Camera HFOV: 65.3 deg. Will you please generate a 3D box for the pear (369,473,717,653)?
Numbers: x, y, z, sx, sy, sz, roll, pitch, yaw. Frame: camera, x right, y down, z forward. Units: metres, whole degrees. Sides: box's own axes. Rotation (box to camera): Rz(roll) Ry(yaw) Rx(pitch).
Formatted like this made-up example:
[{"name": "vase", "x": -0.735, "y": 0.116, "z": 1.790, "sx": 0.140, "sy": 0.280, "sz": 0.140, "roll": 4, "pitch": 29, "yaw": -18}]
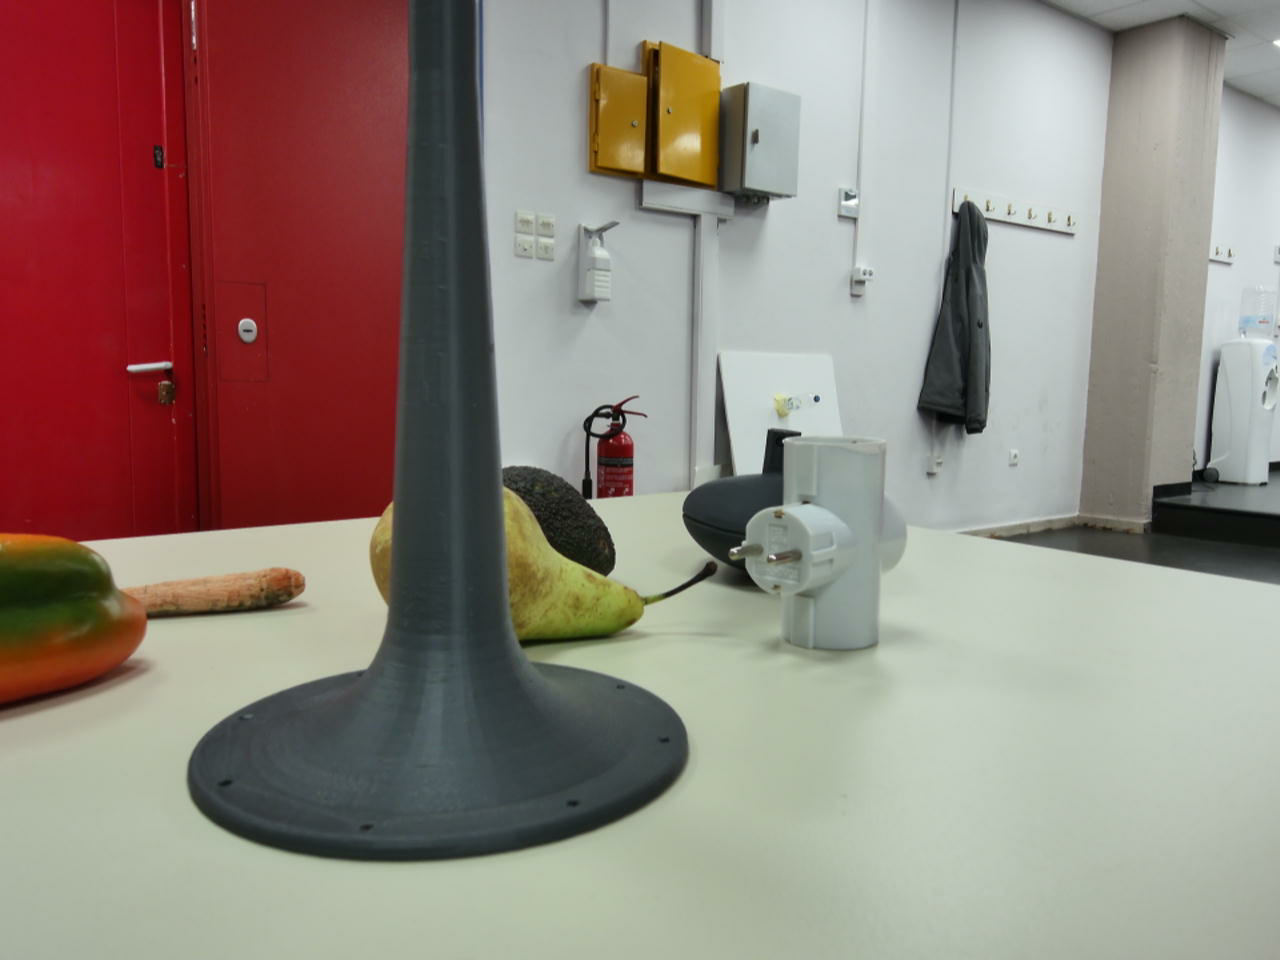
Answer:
[{"name": "pear", "x": -0.046, "y": 0.034, "z": 0.441, "sx": 0.144, "sy": 0.075, "sz": 0.072, "roll": -3, "pitch": 5, "yaw": -31}]
